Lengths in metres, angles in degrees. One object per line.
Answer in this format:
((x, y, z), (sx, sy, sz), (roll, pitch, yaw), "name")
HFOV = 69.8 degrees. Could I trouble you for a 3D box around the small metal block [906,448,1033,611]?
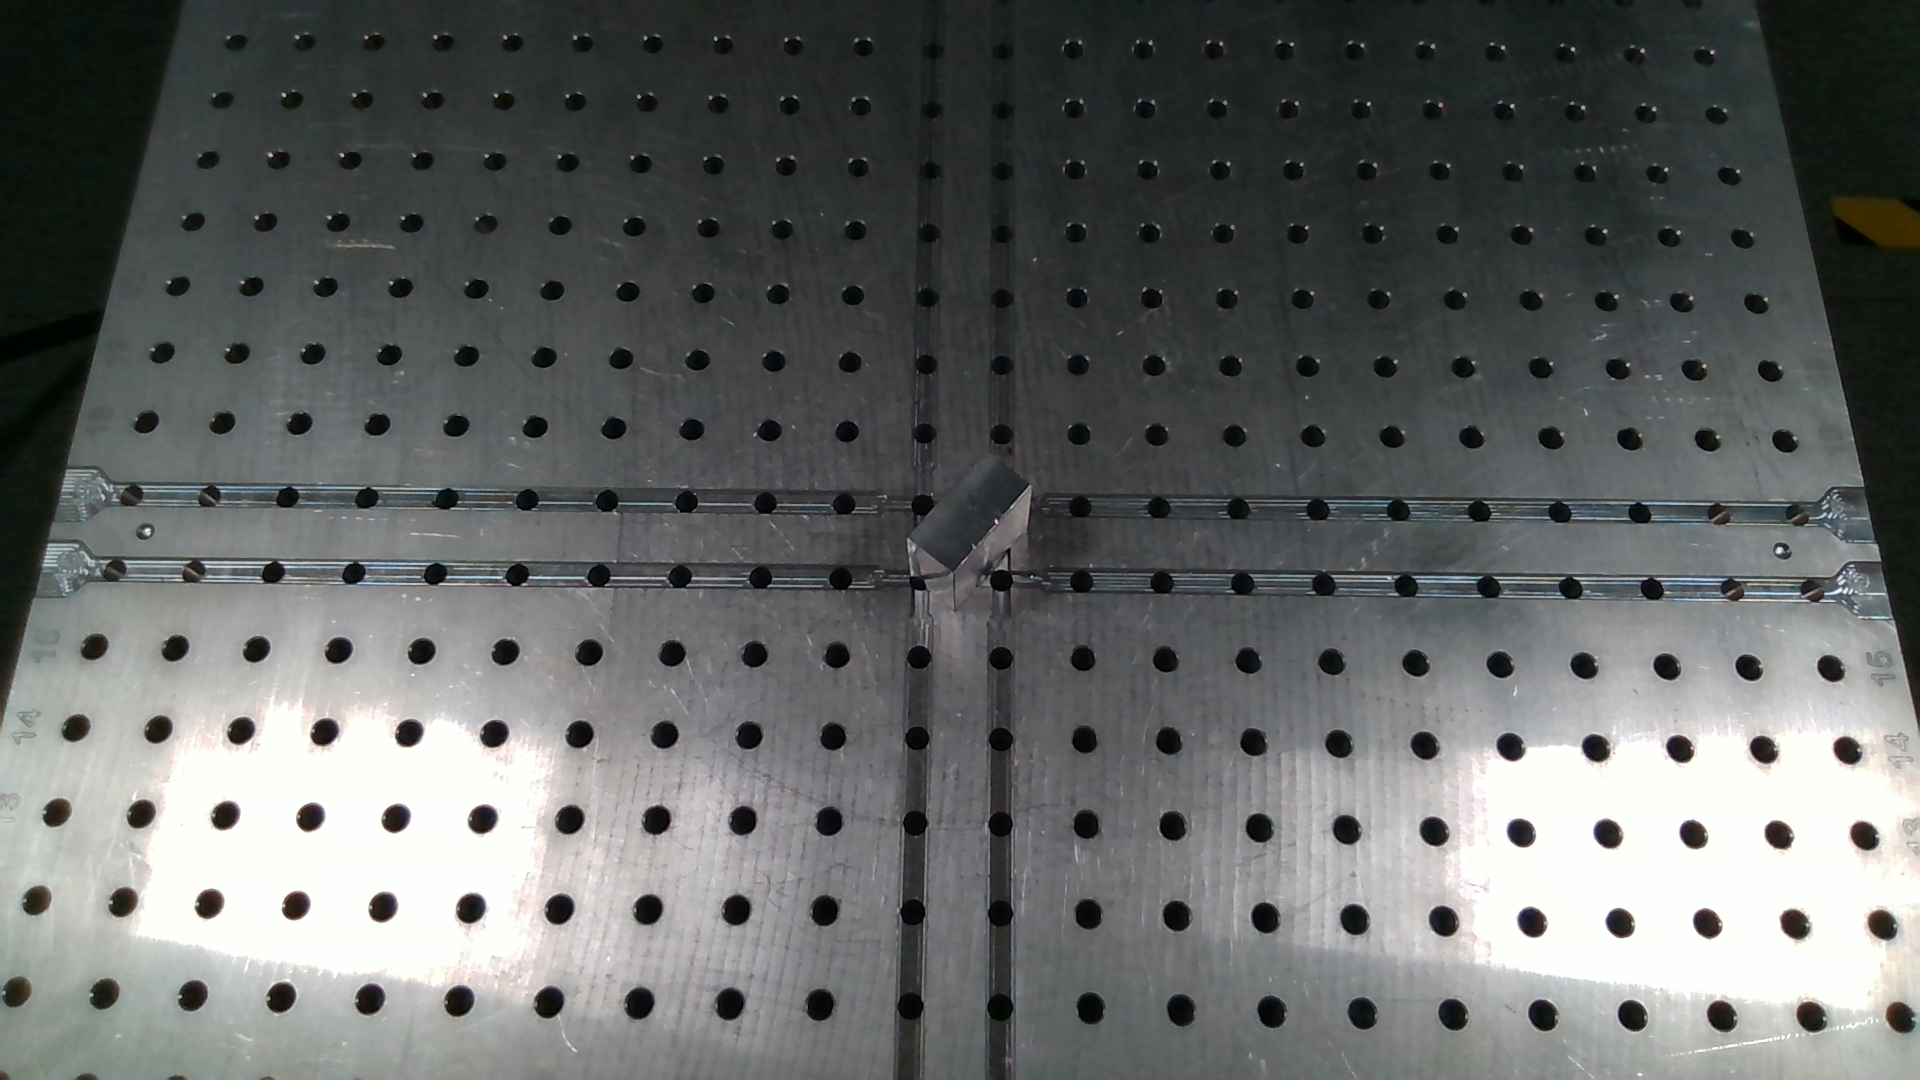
((0.004, -0.003, 0.578), (0.025, 0.050, 0.050), (38, 75, 13), "small metal block")
